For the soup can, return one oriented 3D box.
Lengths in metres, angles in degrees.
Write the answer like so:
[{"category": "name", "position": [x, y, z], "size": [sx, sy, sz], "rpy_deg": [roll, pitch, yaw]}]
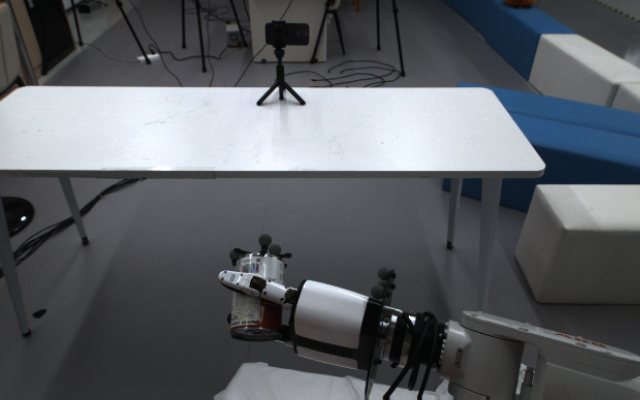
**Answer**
[{"category": "soup can", "position": [-0.079, 0.129, 0.639], "size": [0.067, 0.067, 0.101], "rpy_deg": [0, 60, -3]}]
